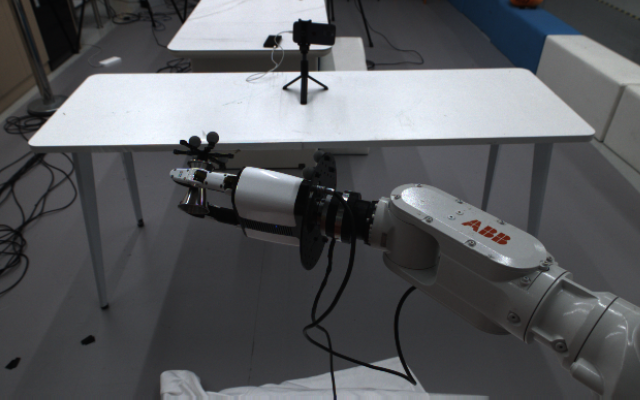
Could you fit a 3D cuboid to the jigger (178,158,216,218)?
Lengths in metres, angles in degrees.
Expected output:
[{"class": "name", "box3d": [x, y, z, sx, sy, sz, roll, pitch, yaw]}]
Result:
[{"class": "jigger", "box3d": [-0.175, -0.019, 0.687, 0.043, 0.043, 0.071, 5, 71, 4]}]
